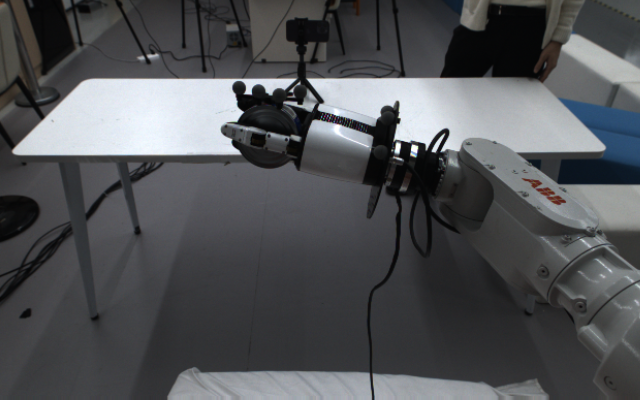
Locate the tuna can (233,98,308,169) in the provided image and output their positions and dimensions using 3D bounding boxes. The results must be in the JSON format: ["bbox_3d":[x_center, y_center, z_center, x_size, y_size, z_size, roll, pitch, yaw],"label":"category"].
[{"bbox_3d":[-0.066,-0.087,0.642,0.085,0.085,0.034,6,22,6],"label":"tuna can"}]
